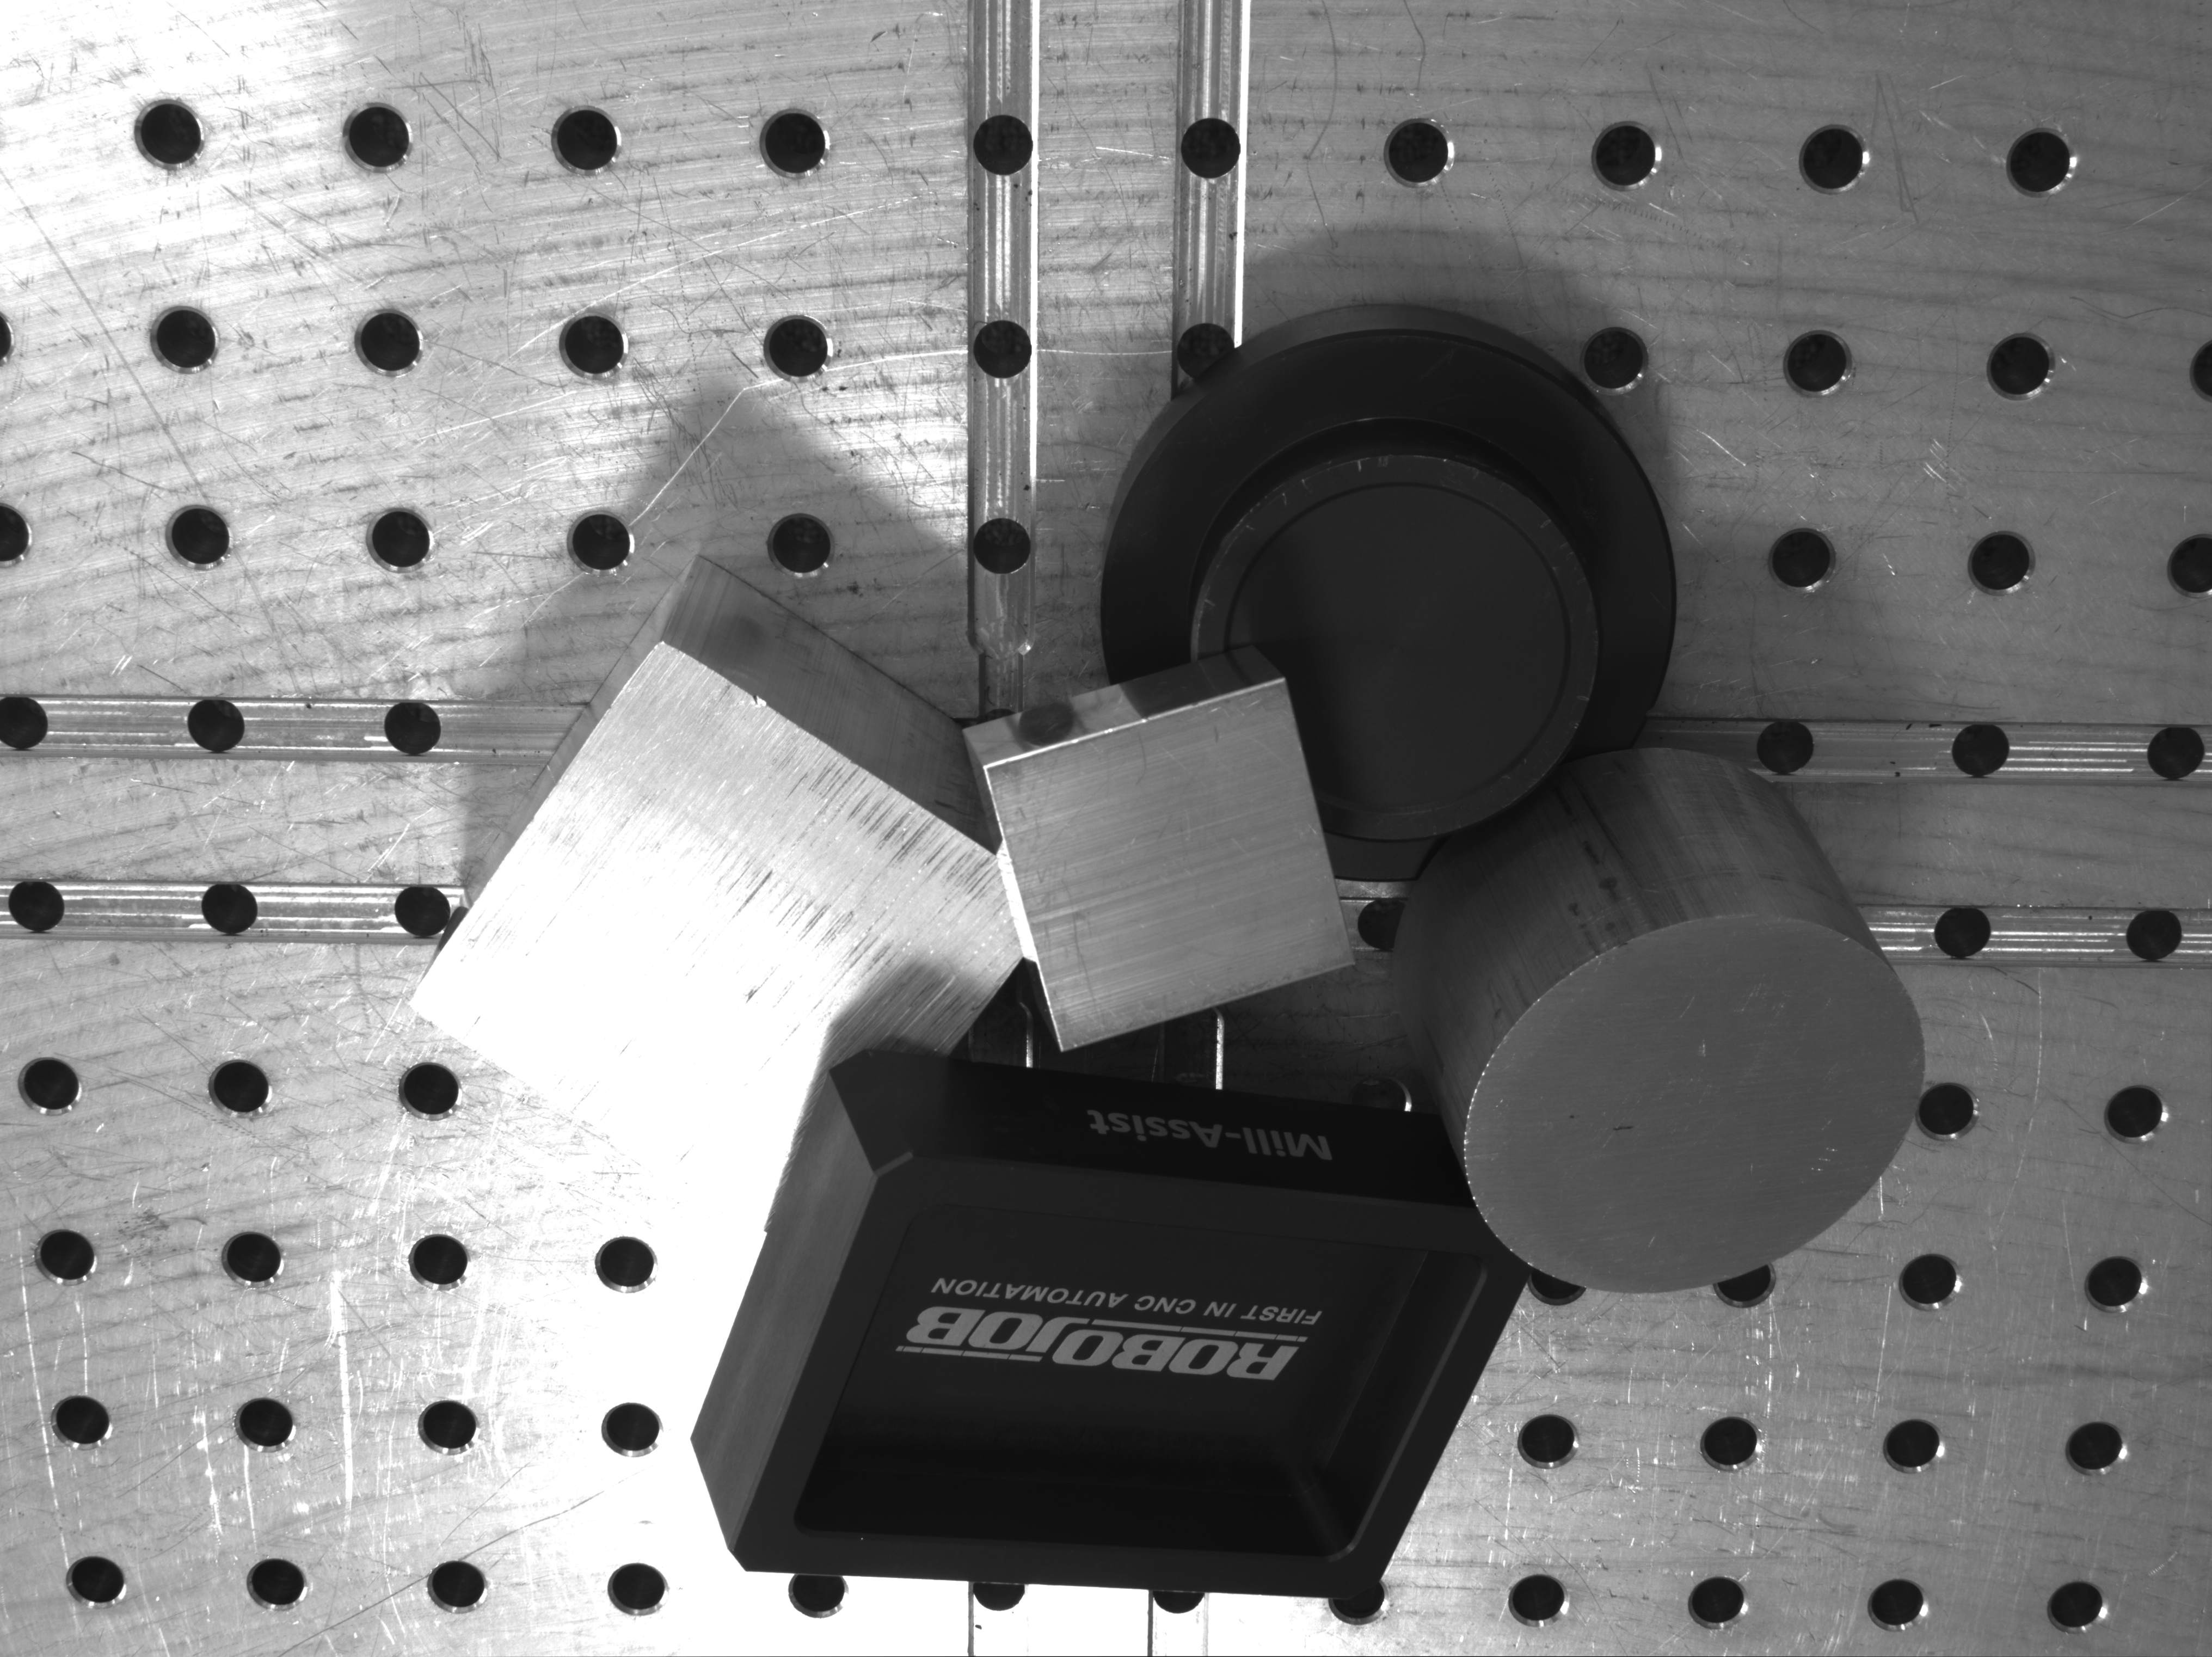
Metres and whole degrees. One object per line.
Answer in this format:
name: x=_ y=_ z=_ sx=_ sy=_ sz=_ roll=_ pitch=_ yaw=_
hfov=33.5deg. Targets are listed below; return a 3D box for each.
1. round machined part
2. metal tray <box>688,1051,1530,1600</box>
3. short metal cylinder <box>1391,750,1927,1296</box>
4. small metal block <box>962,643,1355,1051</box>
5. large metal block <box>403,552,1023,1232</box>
round machined part: x=0.048 y=-0.036 z=0.624 sx=0.098 sy=0.042 sz=0.098 roll=0 pitch=110 yaw=0
metal tray: x=0.002 y=0.090 z=0.646 sx=0.130 sy=0.030 sz=0.090 roll=8 pitch=119 yaw=-27
short metal cylinder: x=0.094 y=0.034 z=0.634 sx=0.080 sy=0.050 sz=0.080 roll=-6 pitch=124 yaw=-9
small metal block: x=0.008 y=0.003 z=0.598 sx=0.050 sy=0.025 sz=0.050 roll=-16 pitch=107 yaw=-6
large metal block: x=-0.062 y=0.013 z=0.638 sx=0.080 sy=0.050 sz=0.080 roll=34 pitch=107 yaw=-11
